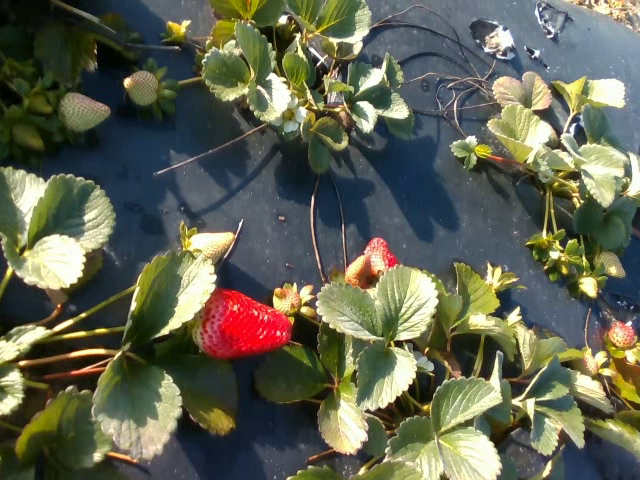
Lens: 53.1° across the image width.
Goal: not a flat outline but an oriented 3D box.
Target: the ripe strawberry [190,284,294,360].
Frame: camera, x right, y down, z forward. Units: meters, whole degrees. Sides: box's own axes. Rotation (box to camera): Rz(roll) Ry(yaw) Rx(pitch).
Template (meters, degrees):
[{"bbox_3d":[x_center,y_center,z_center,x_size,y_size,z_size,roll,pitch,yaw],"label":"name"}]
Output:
[{"bbox_3d":[-0.050,0.057,0.414,0.072,0.057,0.055,1,28,-9],"label":"ripe strawberry"}]
